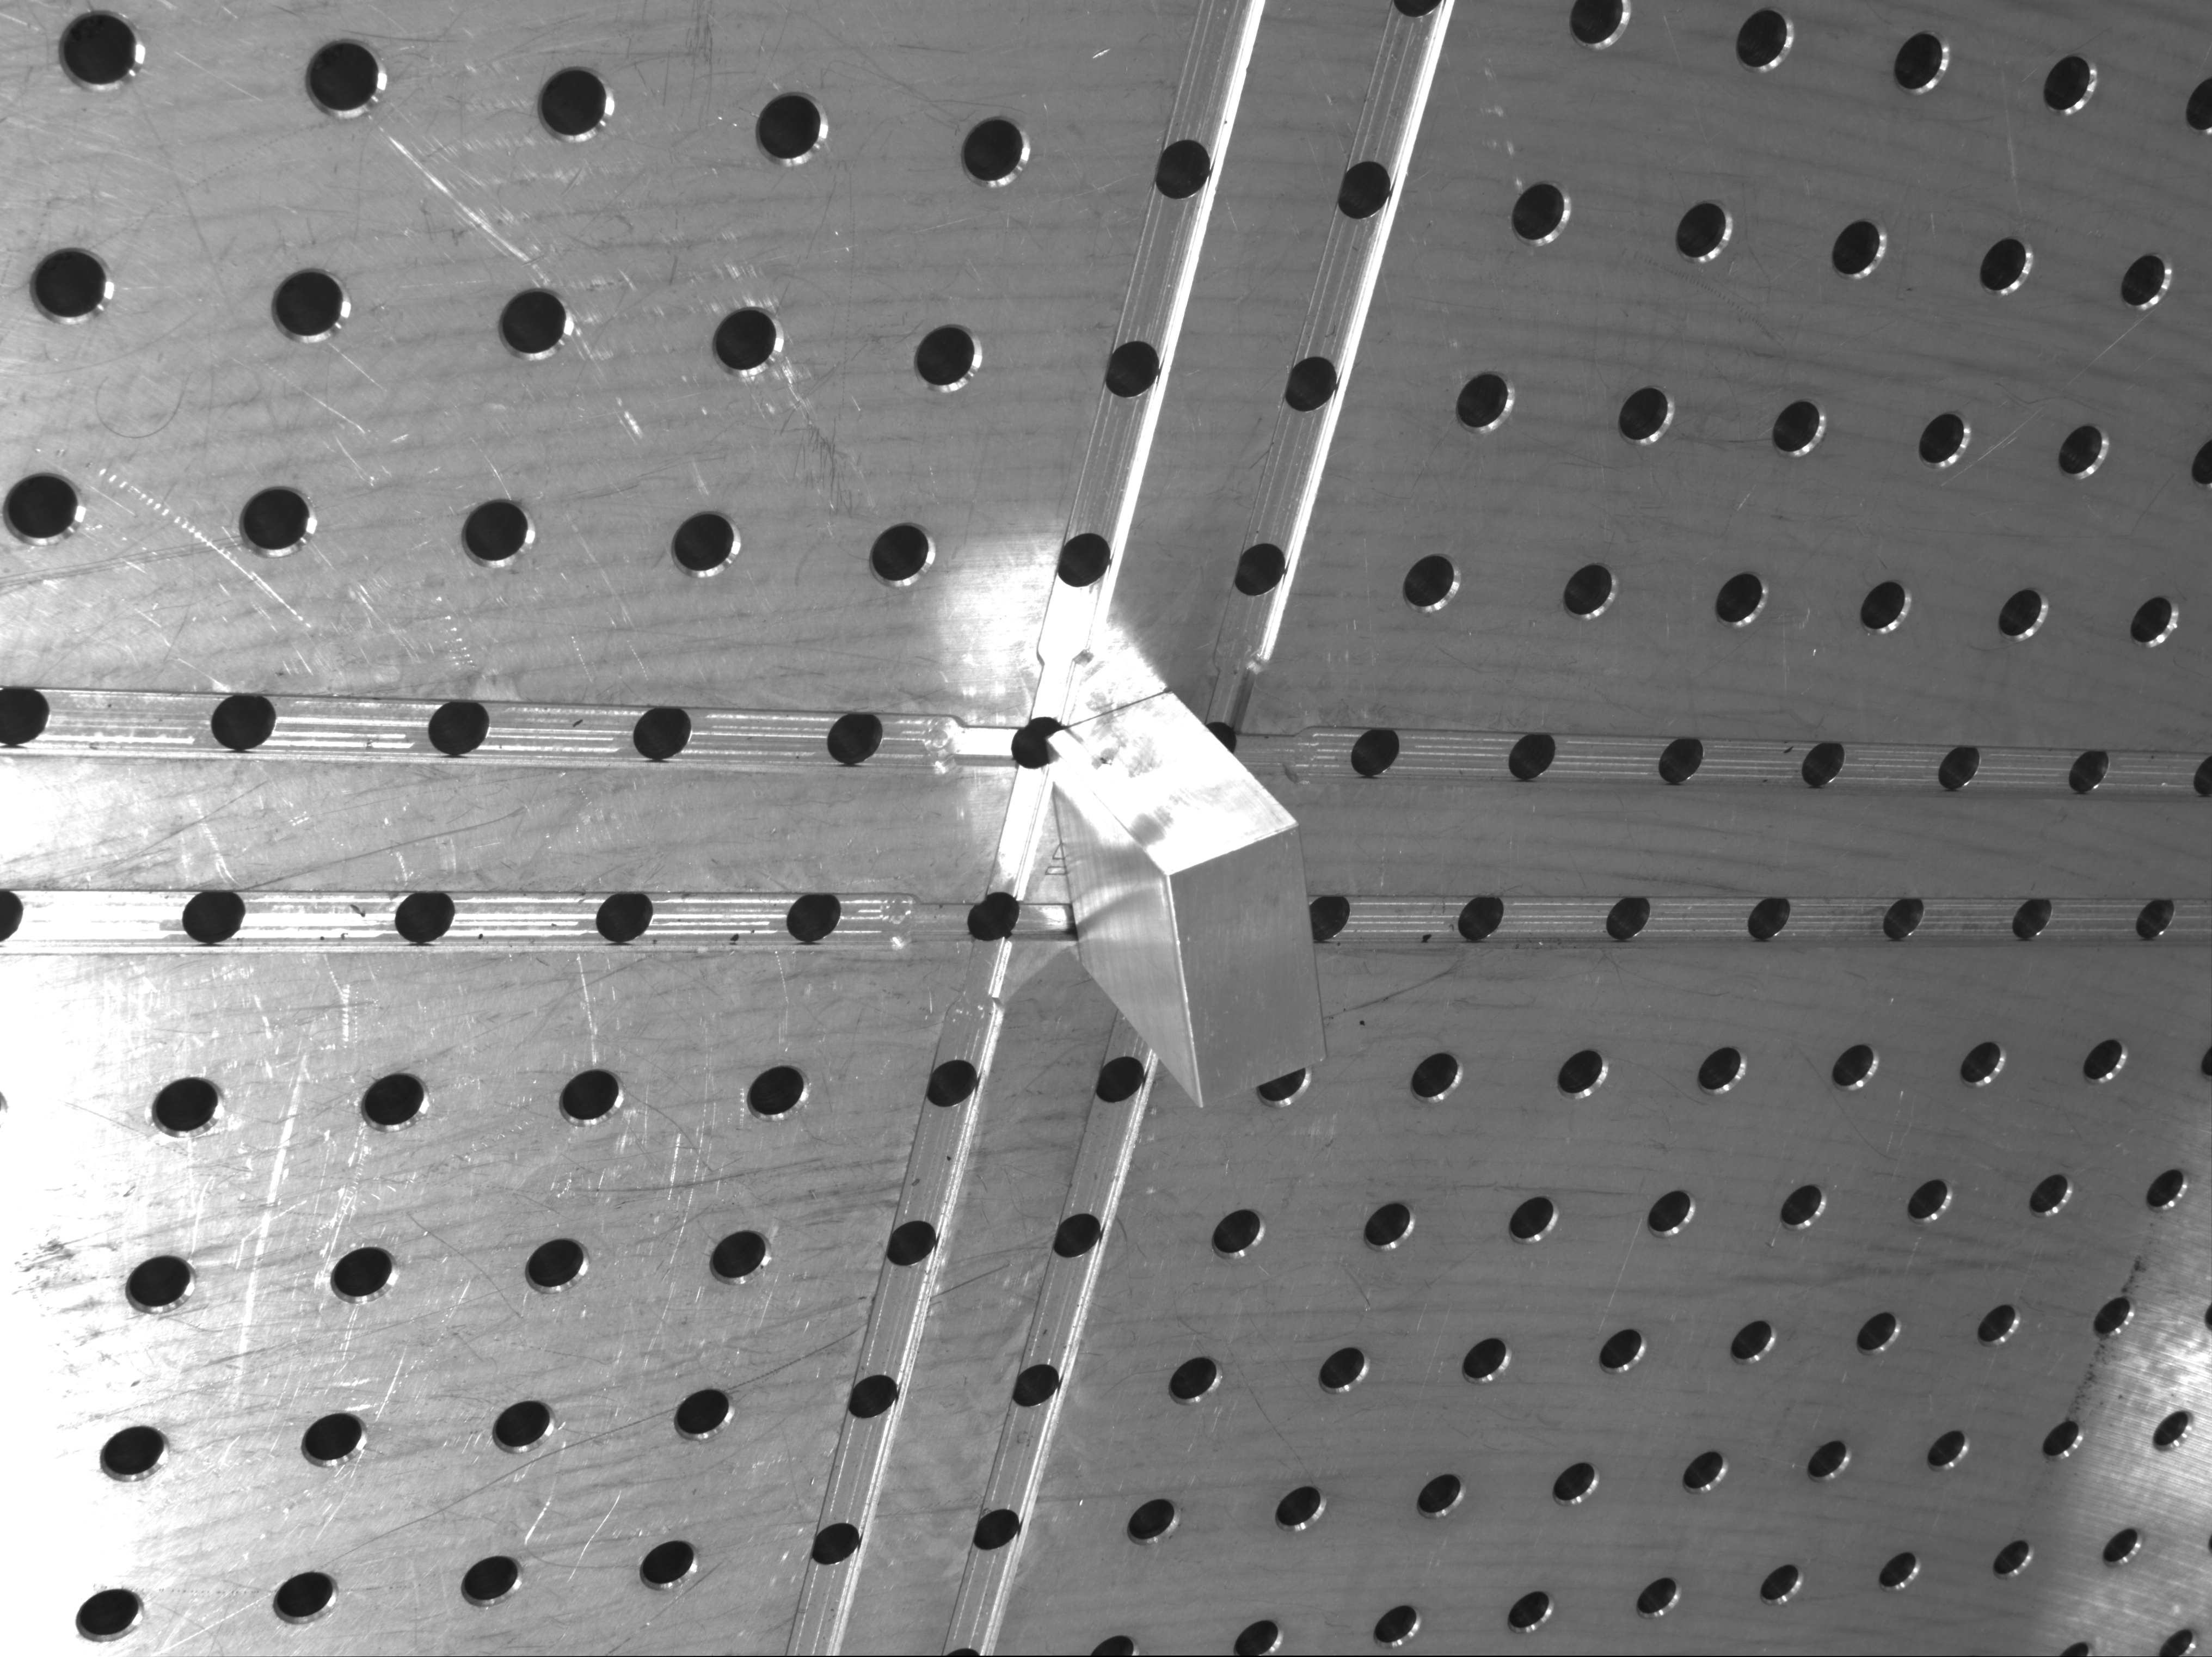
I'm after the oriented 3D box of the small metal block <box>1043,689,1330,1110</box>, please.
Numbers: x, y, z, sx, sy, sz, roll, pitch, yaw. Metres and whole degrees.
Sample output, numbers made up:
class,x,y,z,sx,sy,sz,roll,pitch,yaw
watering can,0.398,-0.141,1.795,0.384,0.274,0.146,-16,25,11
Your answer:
class,x,y,z,sx,sy,sz,roll,pitch,yaw
small metal block,0.014,0.012,0.639,0.025,0.050,0.050,-21,126,-16
